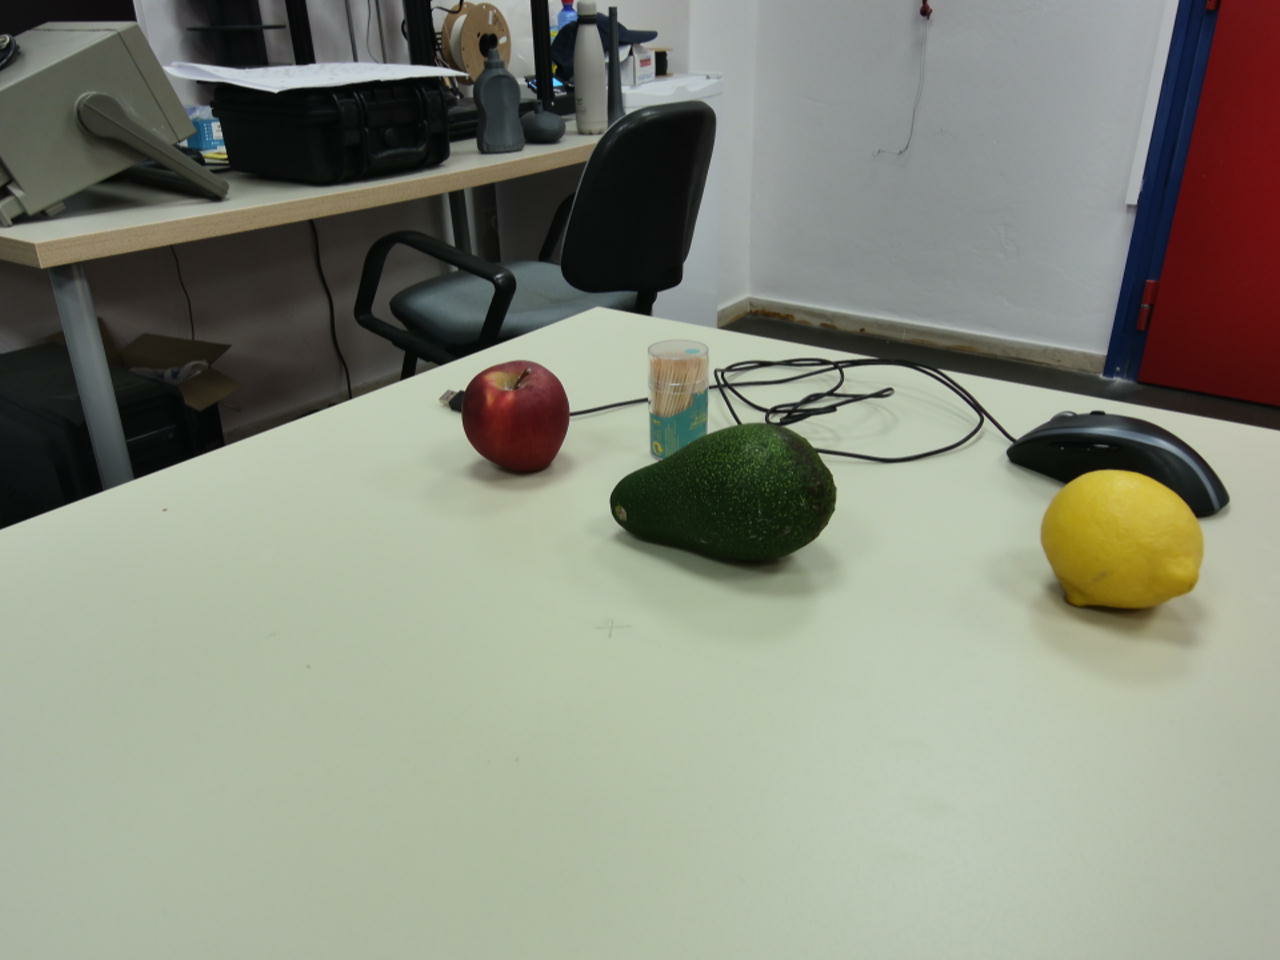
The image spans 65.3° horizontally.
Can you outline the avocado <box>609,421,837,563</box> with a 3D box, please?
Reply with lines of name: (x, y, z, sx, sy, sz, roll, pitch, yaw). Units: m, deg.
avocado: (0.048, 0.002, 0.537, 0.123, 0.076, 0.074, 21, 31, 39)
